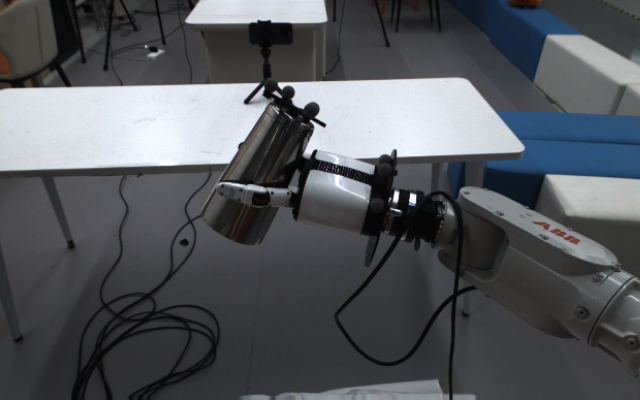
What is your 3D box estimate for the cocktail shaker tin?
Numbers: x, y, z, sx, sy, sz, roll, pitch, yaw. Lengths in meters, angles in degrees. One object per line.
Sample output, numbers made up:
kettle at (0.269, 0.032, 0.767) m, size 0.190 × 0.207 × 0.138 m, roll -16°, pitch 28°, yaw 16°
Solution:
cocktail shaker tin at (-0.077, -0.037, 0.628) m, size 0.093 × 0.170 × 0.093 m, roll 28°, pitch 13°, yaw -7°
